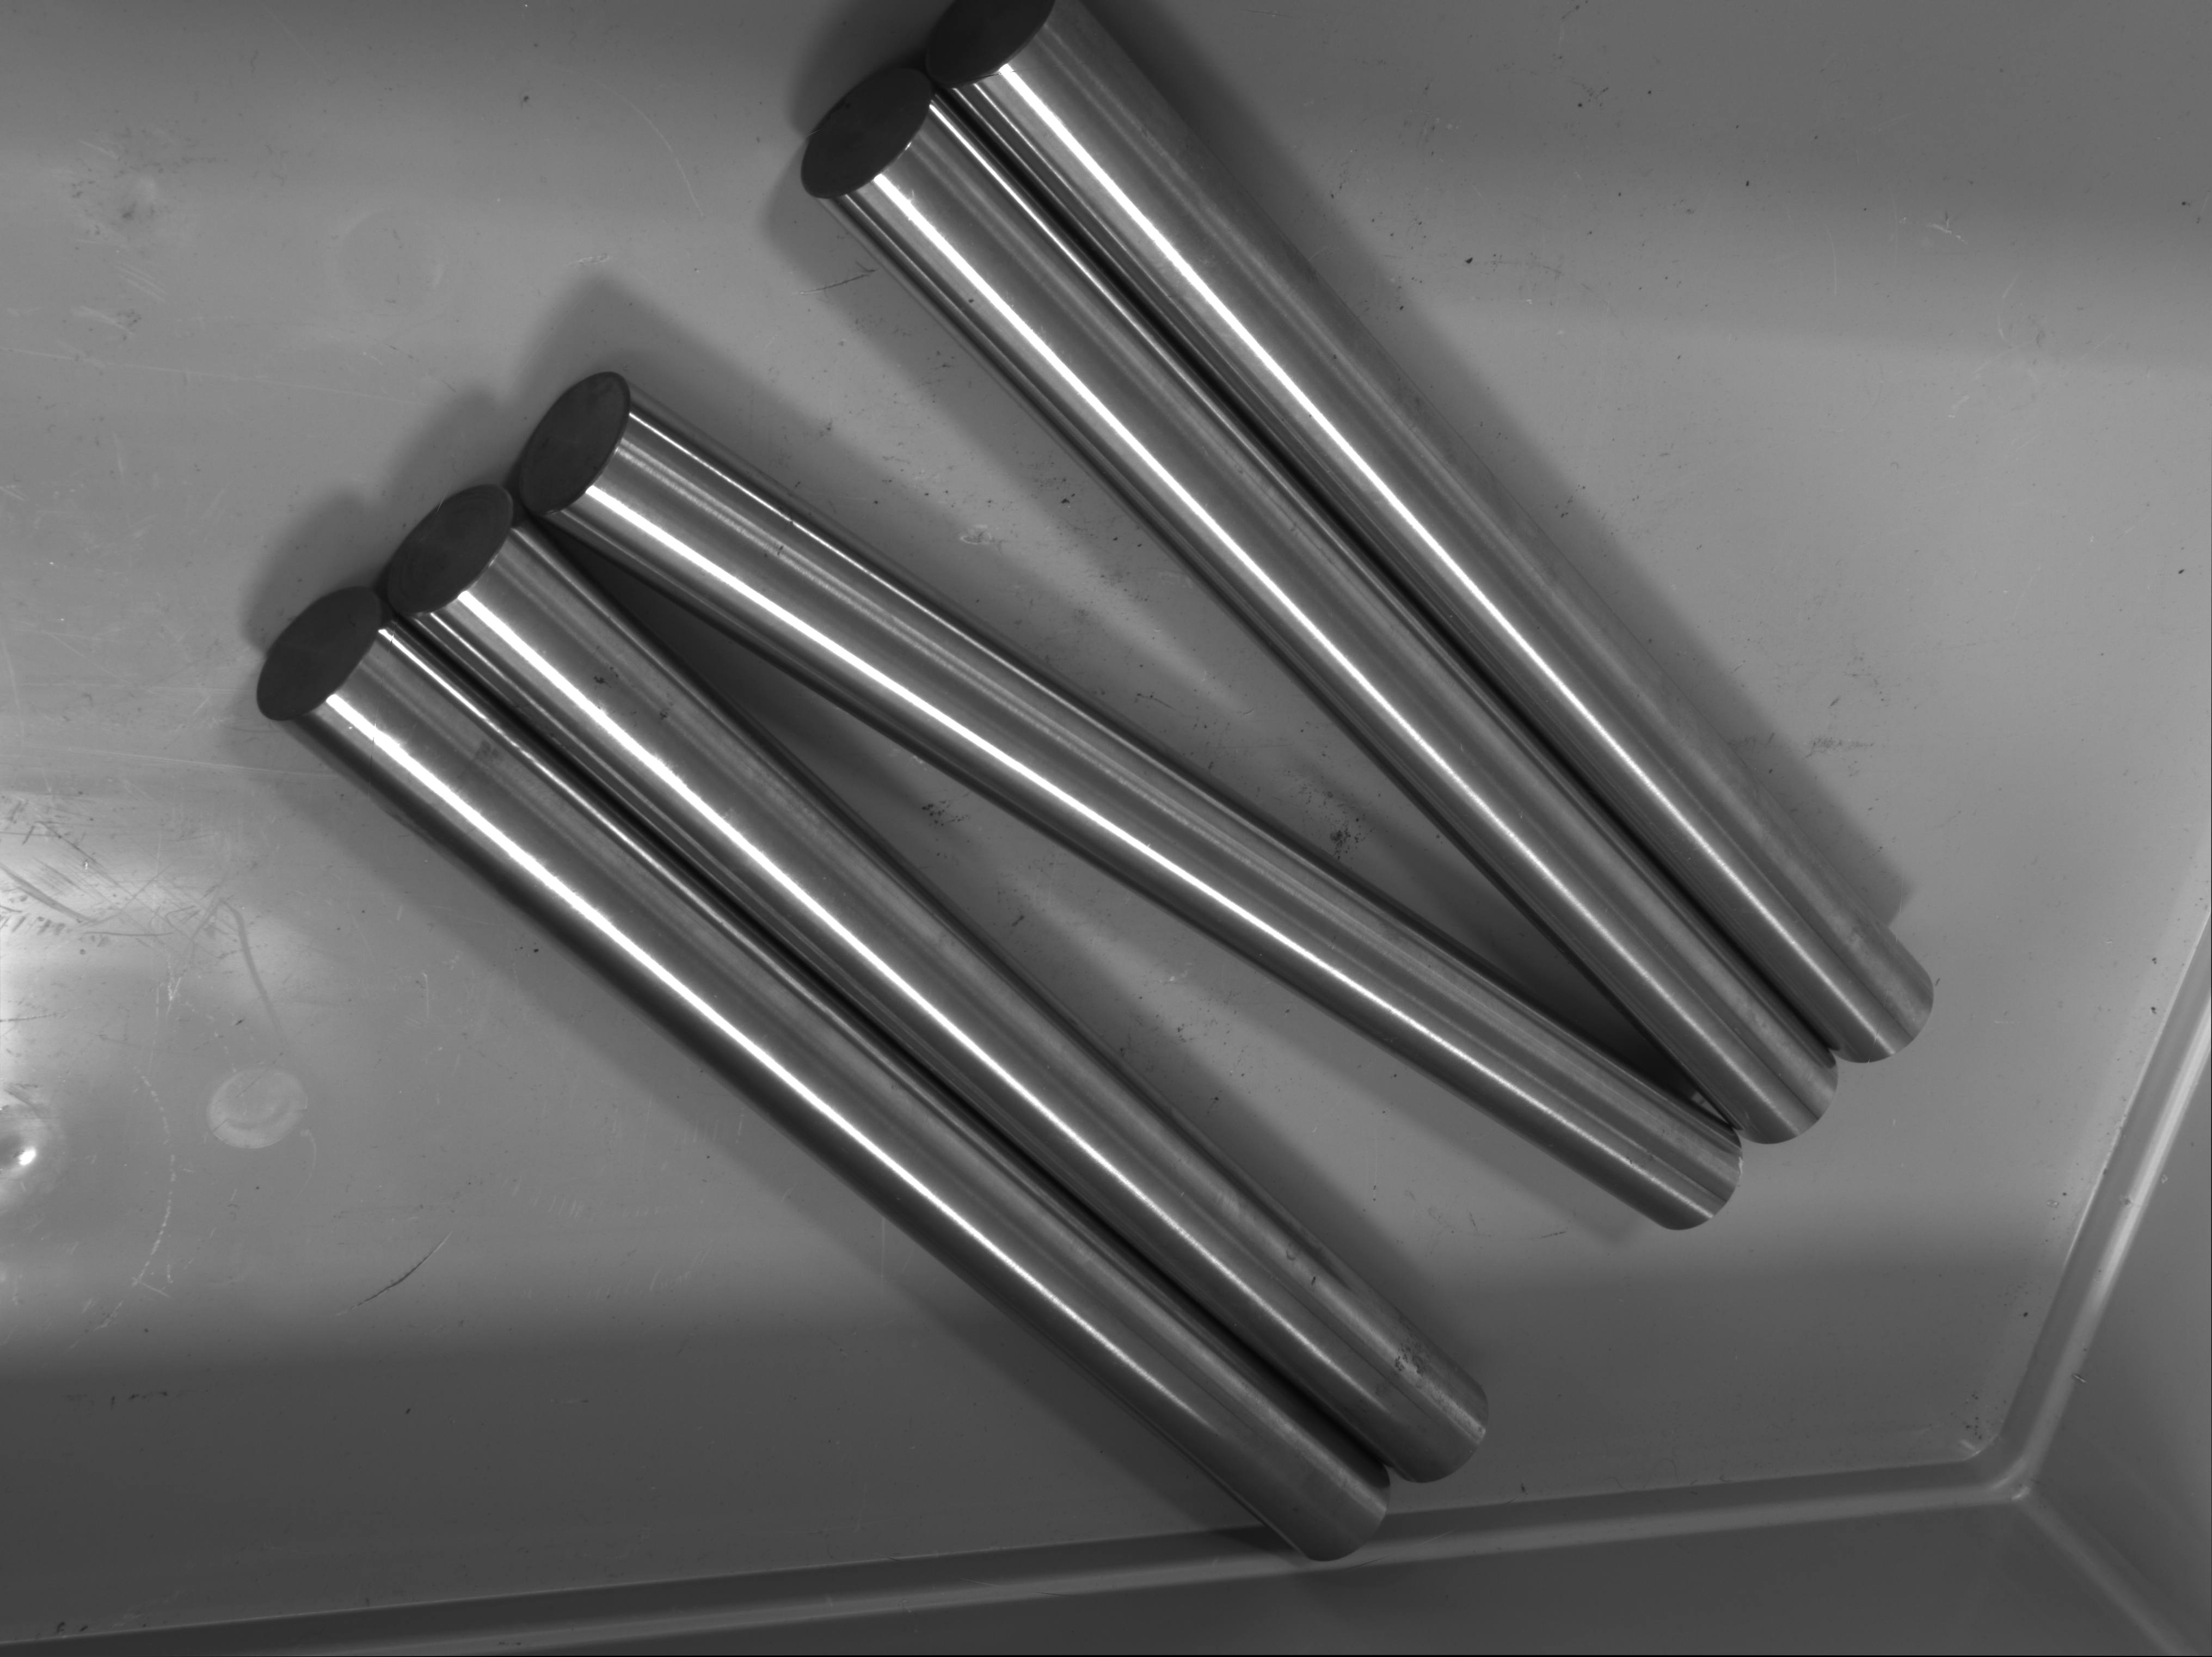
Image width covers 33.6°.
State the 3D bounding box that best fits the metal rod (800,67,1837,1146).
[{"bbox_3d":[0.050,-0.026,0.647,0.025,0.025,0.301,-45,129,3],"label":"metal rod"}]

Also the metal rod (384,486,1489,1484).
[{"bbox_3d":[-0.017,0.040,0.651,0.025,0.025,0.301,-44,129,2],"label":"metal rod"}]

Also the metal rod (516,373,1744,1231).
[{"bbox_3d":[0.019,0.006,0.650,0.301,0.025,0.025,33,100,-38],"label":"metal rod"}]

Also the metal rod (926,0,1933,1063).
[{"bbox_3d":[0.069,-0.042,0.648,0.025,0.025,0.301,-45,129,3],"label":"metal rod"}]

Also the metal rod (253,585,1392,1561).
[{"bbox_3d":[-0.036,0.055,0.650,0.025,0.025,0.301,-44,129,2],"label":"metal rod"}]
